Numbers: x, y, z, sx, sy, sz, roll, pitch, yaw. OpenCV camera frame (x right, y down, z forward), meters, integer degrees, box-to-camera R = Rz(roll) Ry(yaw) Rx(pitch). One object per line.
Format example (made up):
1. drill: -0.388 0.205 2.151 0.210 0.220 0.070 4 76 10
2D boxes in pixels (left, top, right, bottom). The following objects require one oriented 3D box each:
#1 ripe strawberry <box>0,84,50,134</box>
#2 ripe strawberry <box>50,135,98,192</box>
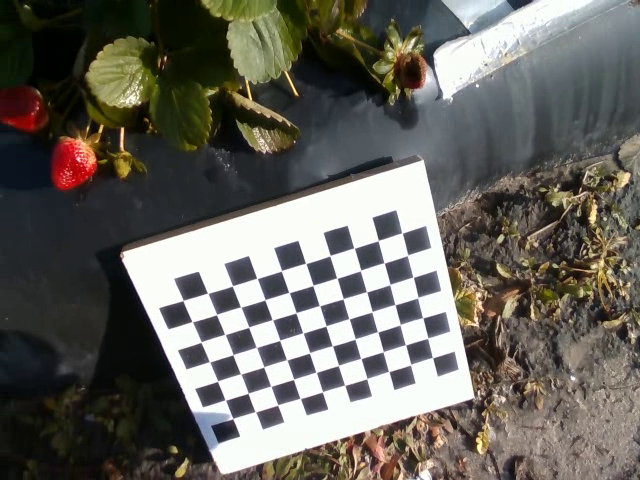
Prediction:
1. ripe strawberry: -0.270 -0.119 0.548 0.054 0.048 0.039 -8 20 -30
2. ripe strawberry: -0.226 -0.067 0.535 0.043 0.053 0.038 26 -27 -15
